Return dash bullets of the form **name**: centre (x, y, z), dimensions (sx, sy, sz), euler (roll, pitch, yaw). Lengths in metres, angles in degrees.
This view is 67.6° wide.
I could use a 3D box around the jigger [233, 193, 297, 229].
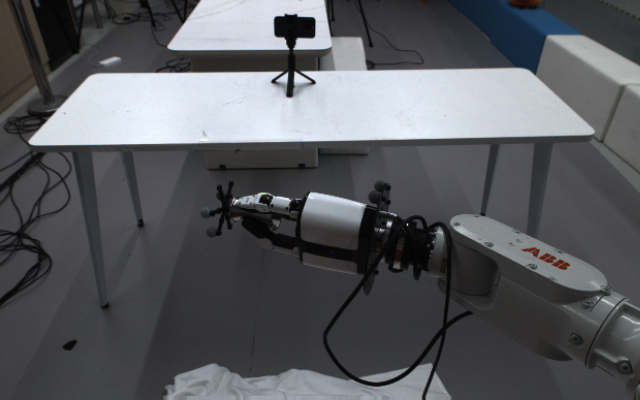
- **jigger**: centre (-0.090, 0.014, 0.722), dimensions (0.071, 0.043, 0.043), euler (8, 35, 14)
